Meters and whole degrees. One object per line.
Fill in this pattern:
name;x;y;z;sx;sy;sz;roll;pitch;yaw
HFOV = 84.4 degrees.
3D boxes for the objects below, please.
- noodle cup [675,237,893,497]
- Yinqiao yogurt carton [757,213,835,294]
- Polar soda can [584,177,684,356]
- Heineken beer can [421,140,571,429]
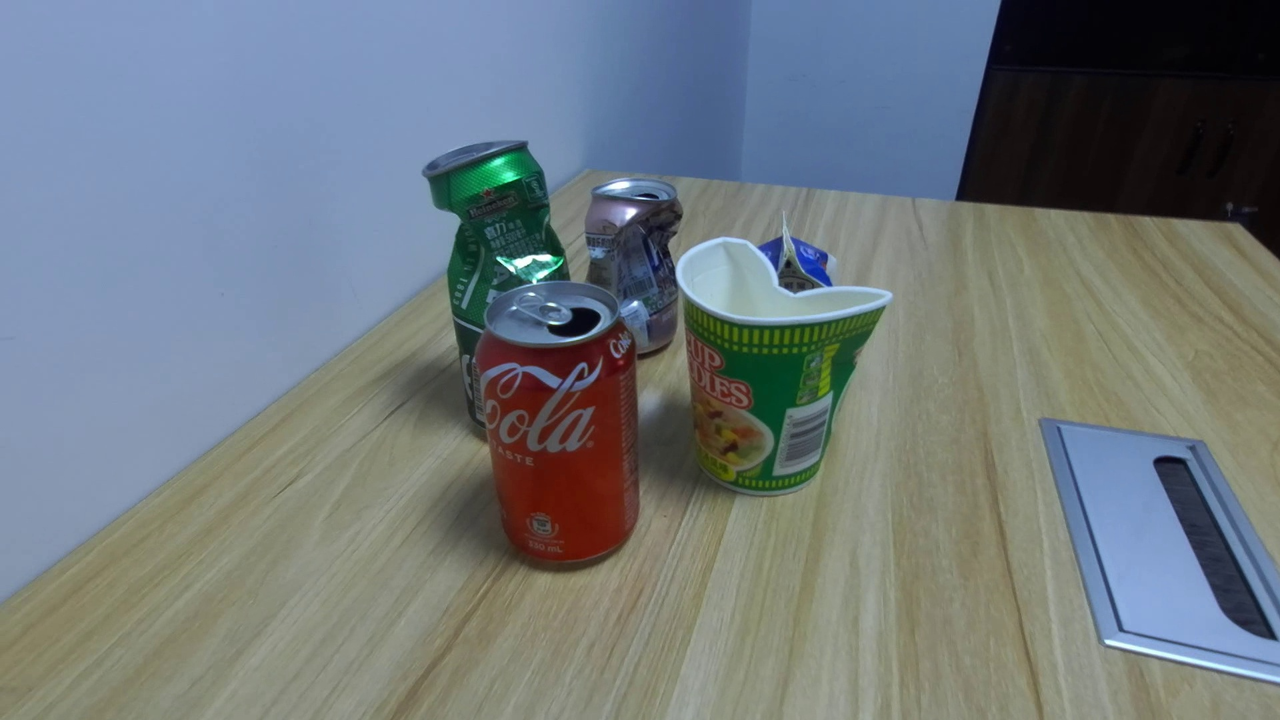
noodle cup;0.059;0.005;0.354;0.087;0.109;0.093;-14;34;-19
Yinqiao yogurt carton;0.094;-0.041;0.456;0.071;0.094;0.077;-1;31;11
Polar soda can;-0.005;-0.058;0.466;0.070;0.114;0.074;-1;24;-15
Heineken beer can;-0.069;-0.034;0.383;0.078;0.159;0.067;1;22;22
